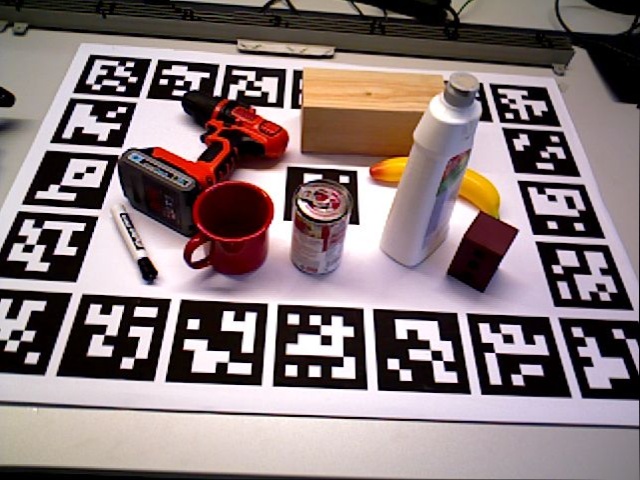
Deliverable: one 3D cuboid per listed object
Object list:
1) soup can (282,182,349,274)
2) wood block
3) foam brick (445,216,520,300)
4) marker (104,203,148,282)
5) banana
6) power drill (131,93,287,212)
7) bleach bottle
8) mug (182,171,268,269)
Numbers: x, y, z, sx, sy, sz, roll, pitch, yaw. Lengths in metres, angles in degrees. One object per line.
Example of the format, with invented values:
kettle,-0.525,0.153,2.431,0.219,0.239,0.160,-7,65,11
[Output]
soup can,-0.008,-0.018,0.630,0.067,0.104,0.067,4,48,-5
wood block,0.073,-0.178,0.776,0.205,0.093,0.088,3,53,-3
foam brick,0.192,0.022,0.645,0.053,0.080,0.050,31,53,19
marker,-0.235,0.003,0.656,0.019,0.020,0.120,-23,59,-19
banana,0.149,-0.089,0.744,0.197,0.039,0.073,18,67,5
power drill,-0.163,-0.119,0.735,0.184,0.059,0.183,29,54,12
bleach bottle,0.123,-0.075,0.599,0.068,0.256,0.100,28,53,15
mug,-0.116,-0.012,0.635,0.115,0.083,0.093,-38,67,-26
